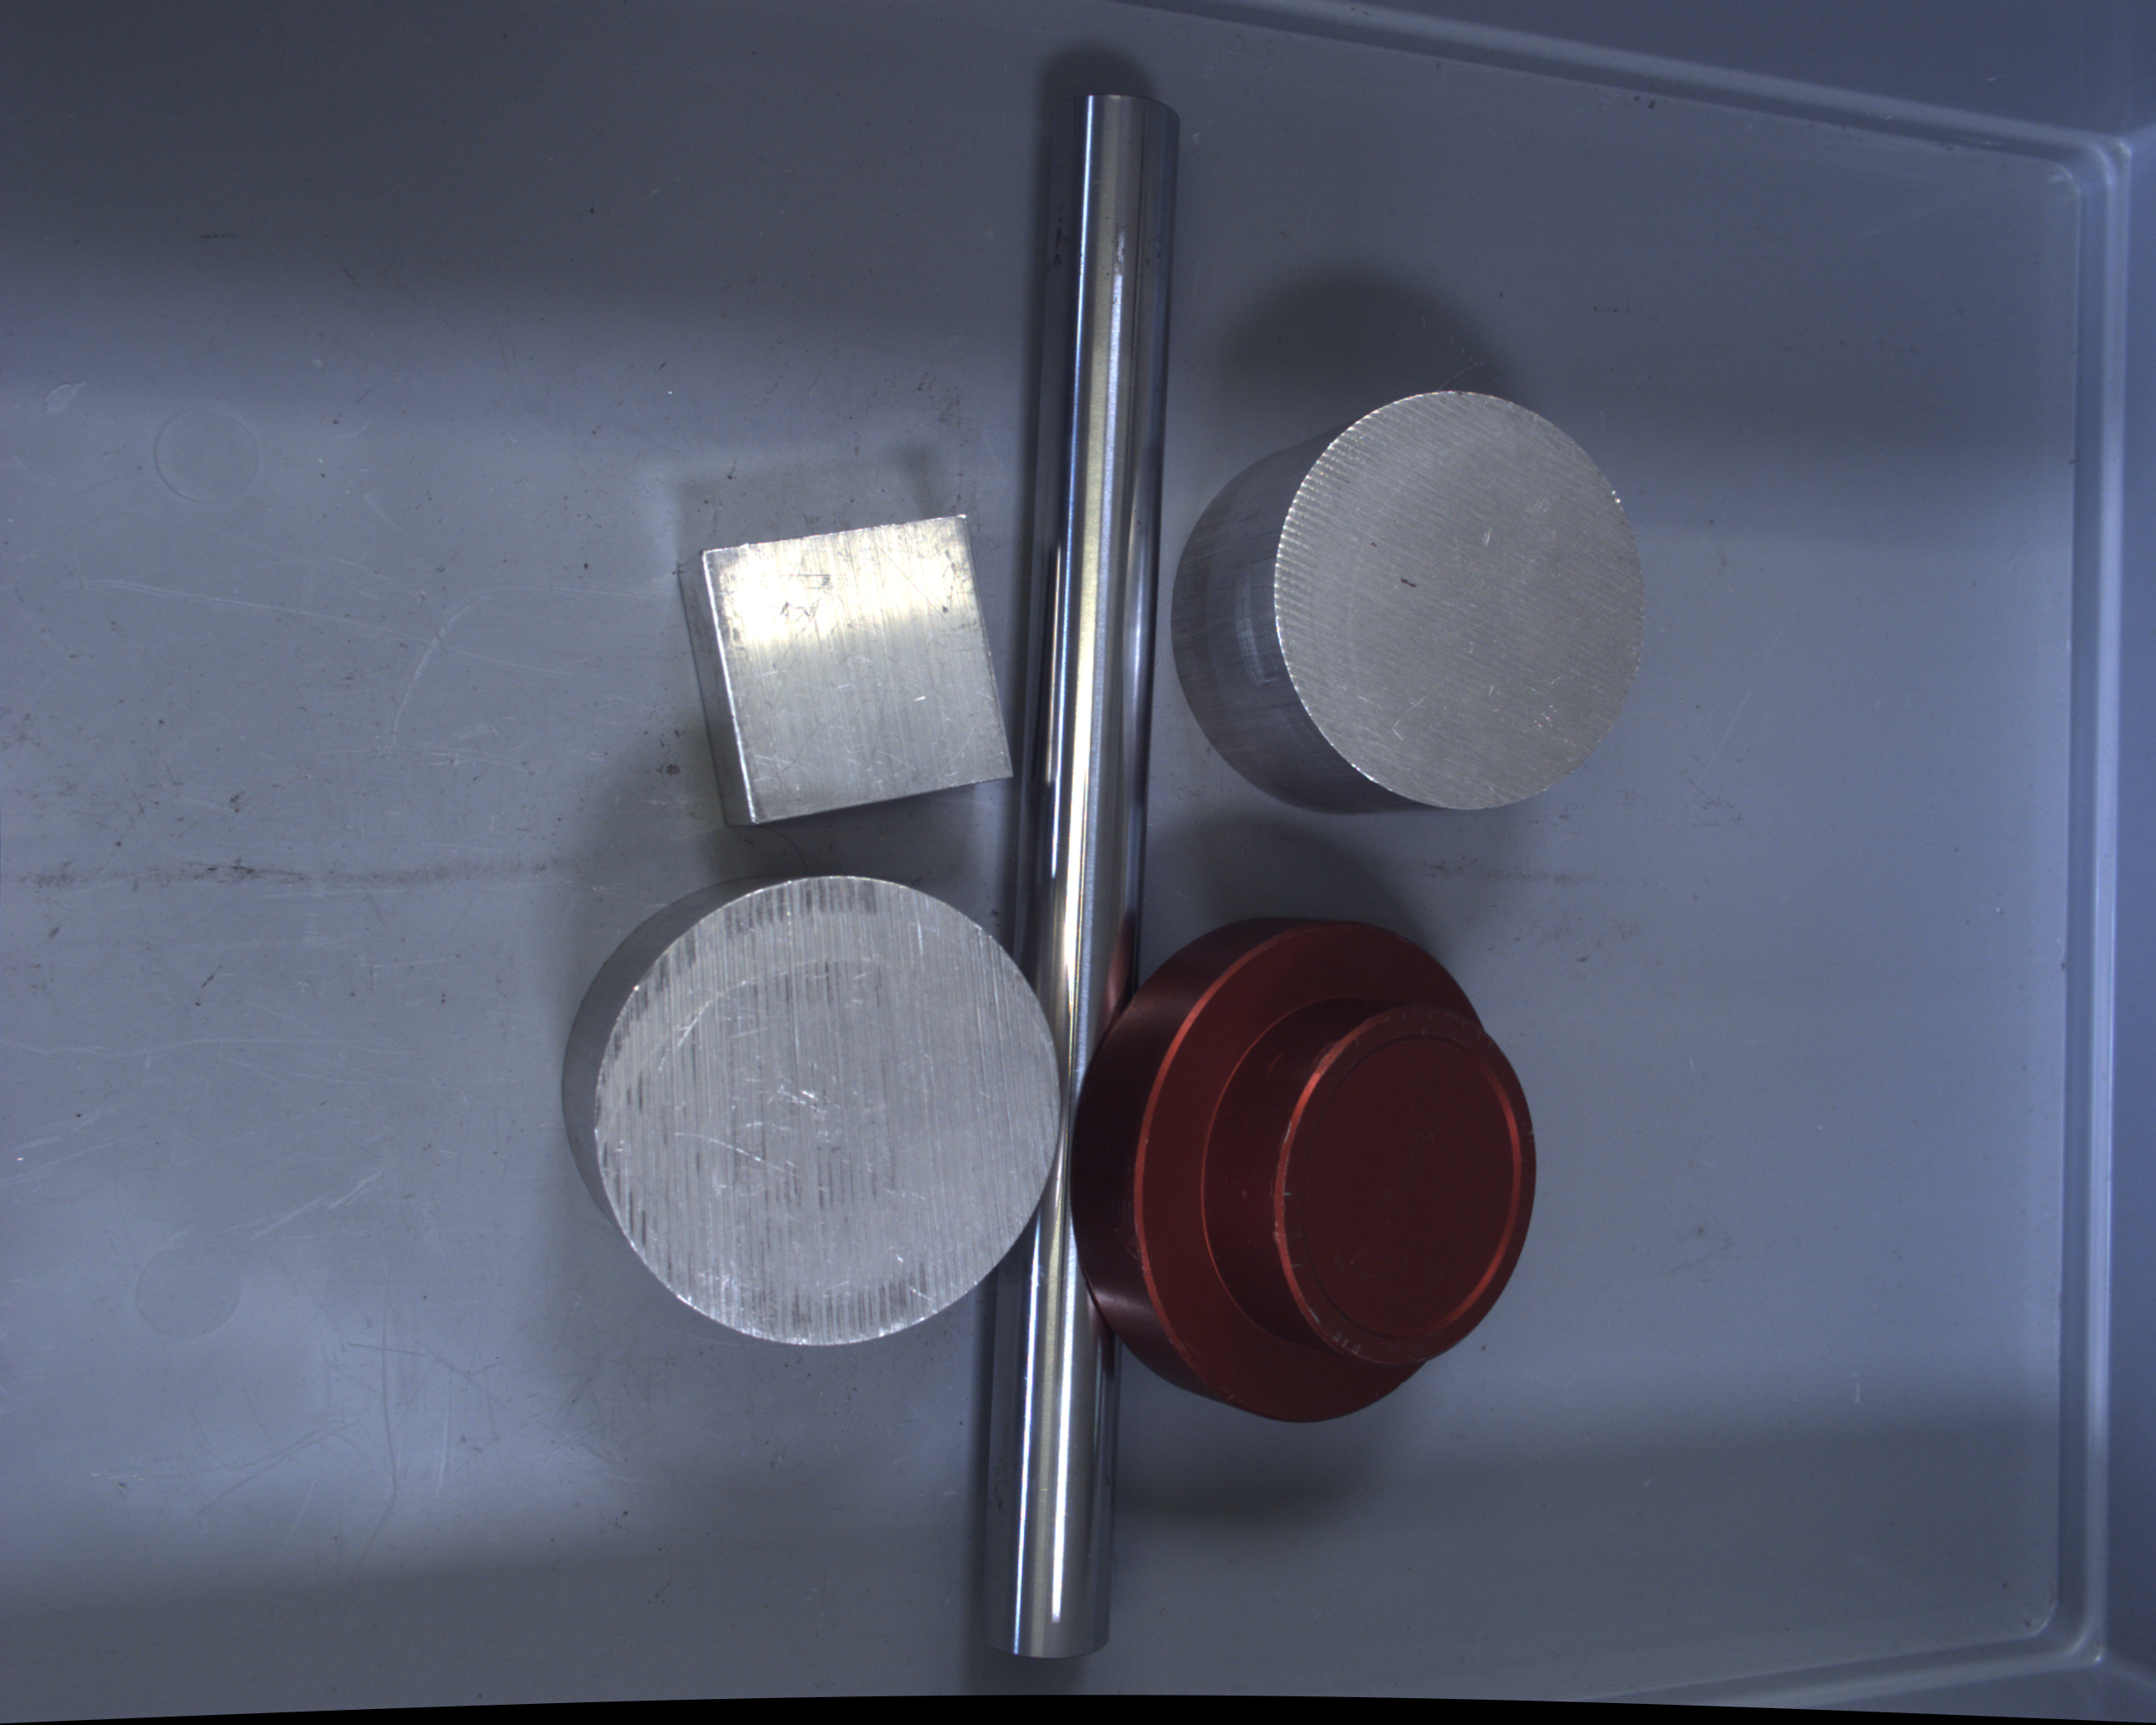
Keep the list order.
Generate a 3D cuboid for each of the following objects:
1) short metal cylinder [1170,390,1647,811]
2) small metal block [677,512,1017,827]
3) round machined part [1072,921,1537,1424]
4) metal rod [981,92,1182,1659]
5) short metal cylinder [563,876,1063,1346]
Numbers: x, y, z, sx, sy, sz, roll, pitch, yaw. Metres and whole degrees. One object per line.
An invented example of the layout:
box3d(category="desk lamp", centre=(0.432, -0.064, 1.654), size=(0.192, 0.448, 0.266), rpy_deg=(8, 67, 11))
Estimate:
box3d(category="short metal cylinder", centre=(0.065, -0.050, 0.419), size=(0.081, 0.050, 0.079), rpy_deg=(0, 90, -20))
box3d(category="small metal block", centre=(-0.044, -0.036, 0.392), size=(0.050, 0.025, 0.050), rpy_deg=(-12, 94, -20))
box3d(category="round machined part", centre=(0.051, 0.060, 0.405), size=(0.099, 0.042, 0.097), rpy_deg=(0, 89, -36))
box3d(category="metal rod", centre=(0.001, 0.002, 0.409), size=(0.025, 0.025, 0.298), rpy_deg=(3, 89, -20))
box3d(category="short metal cylinder", centre=(-0.049, 0.042, 0.377), size=(0.081, 0.050, 0.079), rpy_deg=(0, 90, -20))
